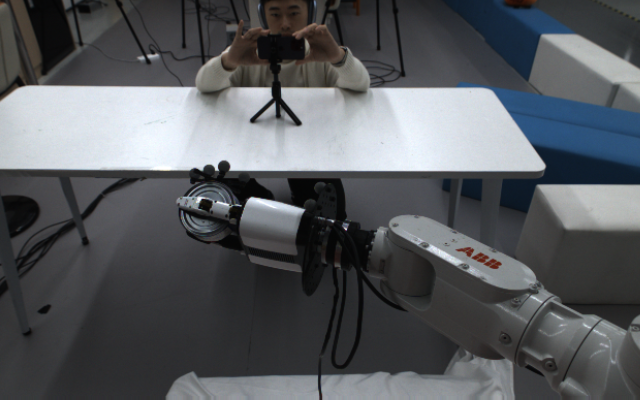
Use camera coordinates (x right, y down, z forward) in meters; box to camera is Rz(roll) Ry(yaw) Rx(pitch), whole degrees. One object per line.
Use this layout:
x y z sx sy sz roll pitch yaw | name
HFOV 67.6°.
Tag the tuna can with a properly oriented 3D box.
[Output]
-0.162 0.017 0.712 0.085 0.034 0.085 -3 68 8 | tuna can
